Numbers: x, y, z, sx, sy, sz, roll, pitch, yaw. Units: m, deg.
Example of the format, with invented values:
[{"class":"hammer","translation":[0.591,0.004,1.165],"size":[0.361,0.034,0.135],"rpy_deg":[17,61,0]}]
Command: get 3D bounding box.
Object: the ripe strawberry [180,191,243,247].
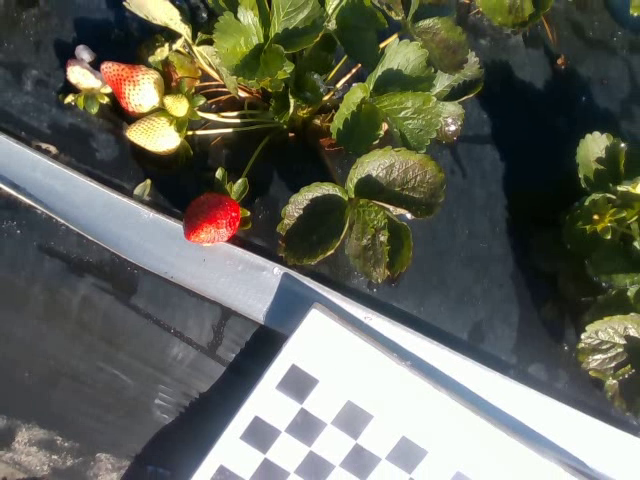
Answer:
[{"class":"ripe strawberry","translation":[-0.064,-0.010,0.350],"size":[0.036,0.038,0.046],"rpy_deg":[34,25,1]}]
